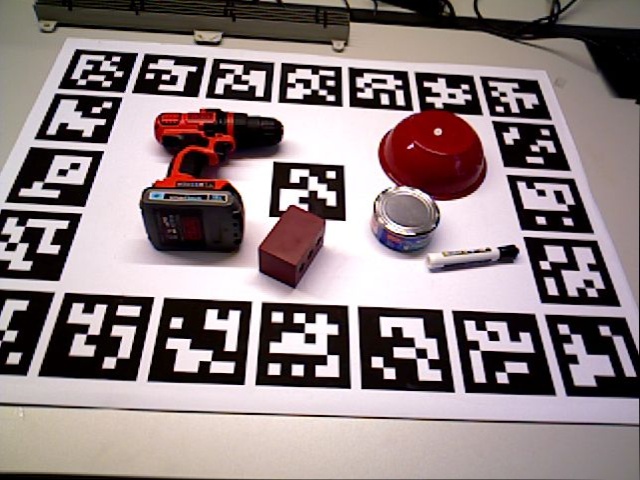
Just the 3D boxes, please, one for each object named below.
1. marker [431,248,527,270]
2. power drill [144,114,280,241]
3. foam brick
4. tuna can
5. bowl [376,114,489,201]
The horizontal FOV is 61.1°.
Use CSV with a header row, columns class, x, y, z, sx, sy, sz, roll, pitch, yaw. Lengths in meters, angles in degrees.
class,x,y,z,sx,sy,sz,roll,pitch,yaw
marker,0.197,0.023,0.667,0.120,0.020,0.019,-5,56,-9
power drill,-0.144,-0.087,0.698,0.183,0.059,0.184,4,51,-7
foam brick,-0.031,0.012,0.643,0.051,0.054,0.076,24,57,9
tuna can,0.112,-0.027,0.687,0.085,0.034,0.084,4,54,-6
bowl,0.162,-0.128,0.764,0.161,0.056,0.159,1,47,-1
